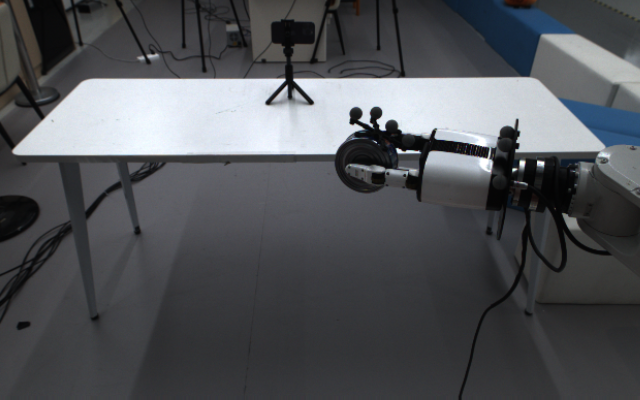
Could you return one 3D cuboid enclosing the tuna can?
[{"bbox_3d":[0.068,-0.047,0.682,0.085,0.085,0.034,15,31,18],"label":"tuna can"}]
